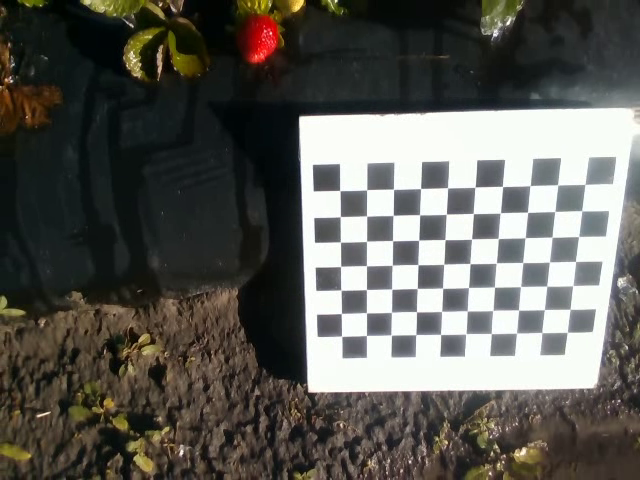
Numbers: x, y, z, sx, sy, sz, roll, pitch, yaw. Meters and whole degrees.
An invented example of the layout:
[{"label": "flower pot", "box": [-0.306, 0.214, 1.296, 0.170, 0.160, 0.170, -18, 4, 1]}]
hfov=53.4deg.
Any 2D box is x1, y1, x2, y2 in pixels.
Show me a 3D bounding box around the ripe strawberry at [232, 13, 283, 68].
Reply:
[{"label": "ripe strawberry", "box": [-0.040, -0.127, 0.415, 0.039, 0.039, 0.040, -7, -46, 13]}]
